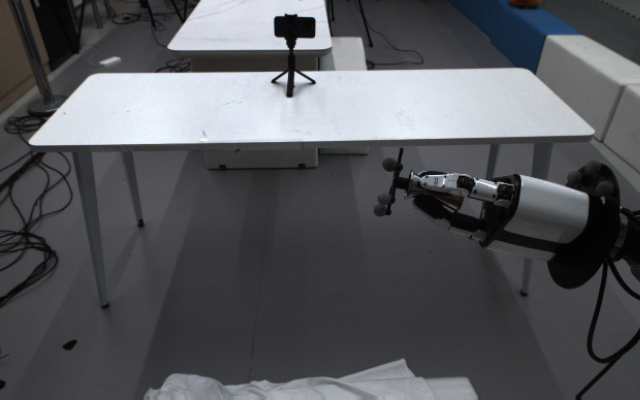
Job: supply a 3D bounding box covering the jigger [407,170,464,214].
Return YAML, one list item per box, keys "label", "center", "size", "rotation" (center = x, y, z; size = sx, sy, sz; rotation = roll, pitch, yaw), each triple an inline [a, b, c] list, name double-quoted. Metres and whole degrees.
- label: "jigger"
  center: [0.151, -0.016, 0.616]
  size: [0.071, 0.043, 0.043]
  rotation: [13, 36, 3]
